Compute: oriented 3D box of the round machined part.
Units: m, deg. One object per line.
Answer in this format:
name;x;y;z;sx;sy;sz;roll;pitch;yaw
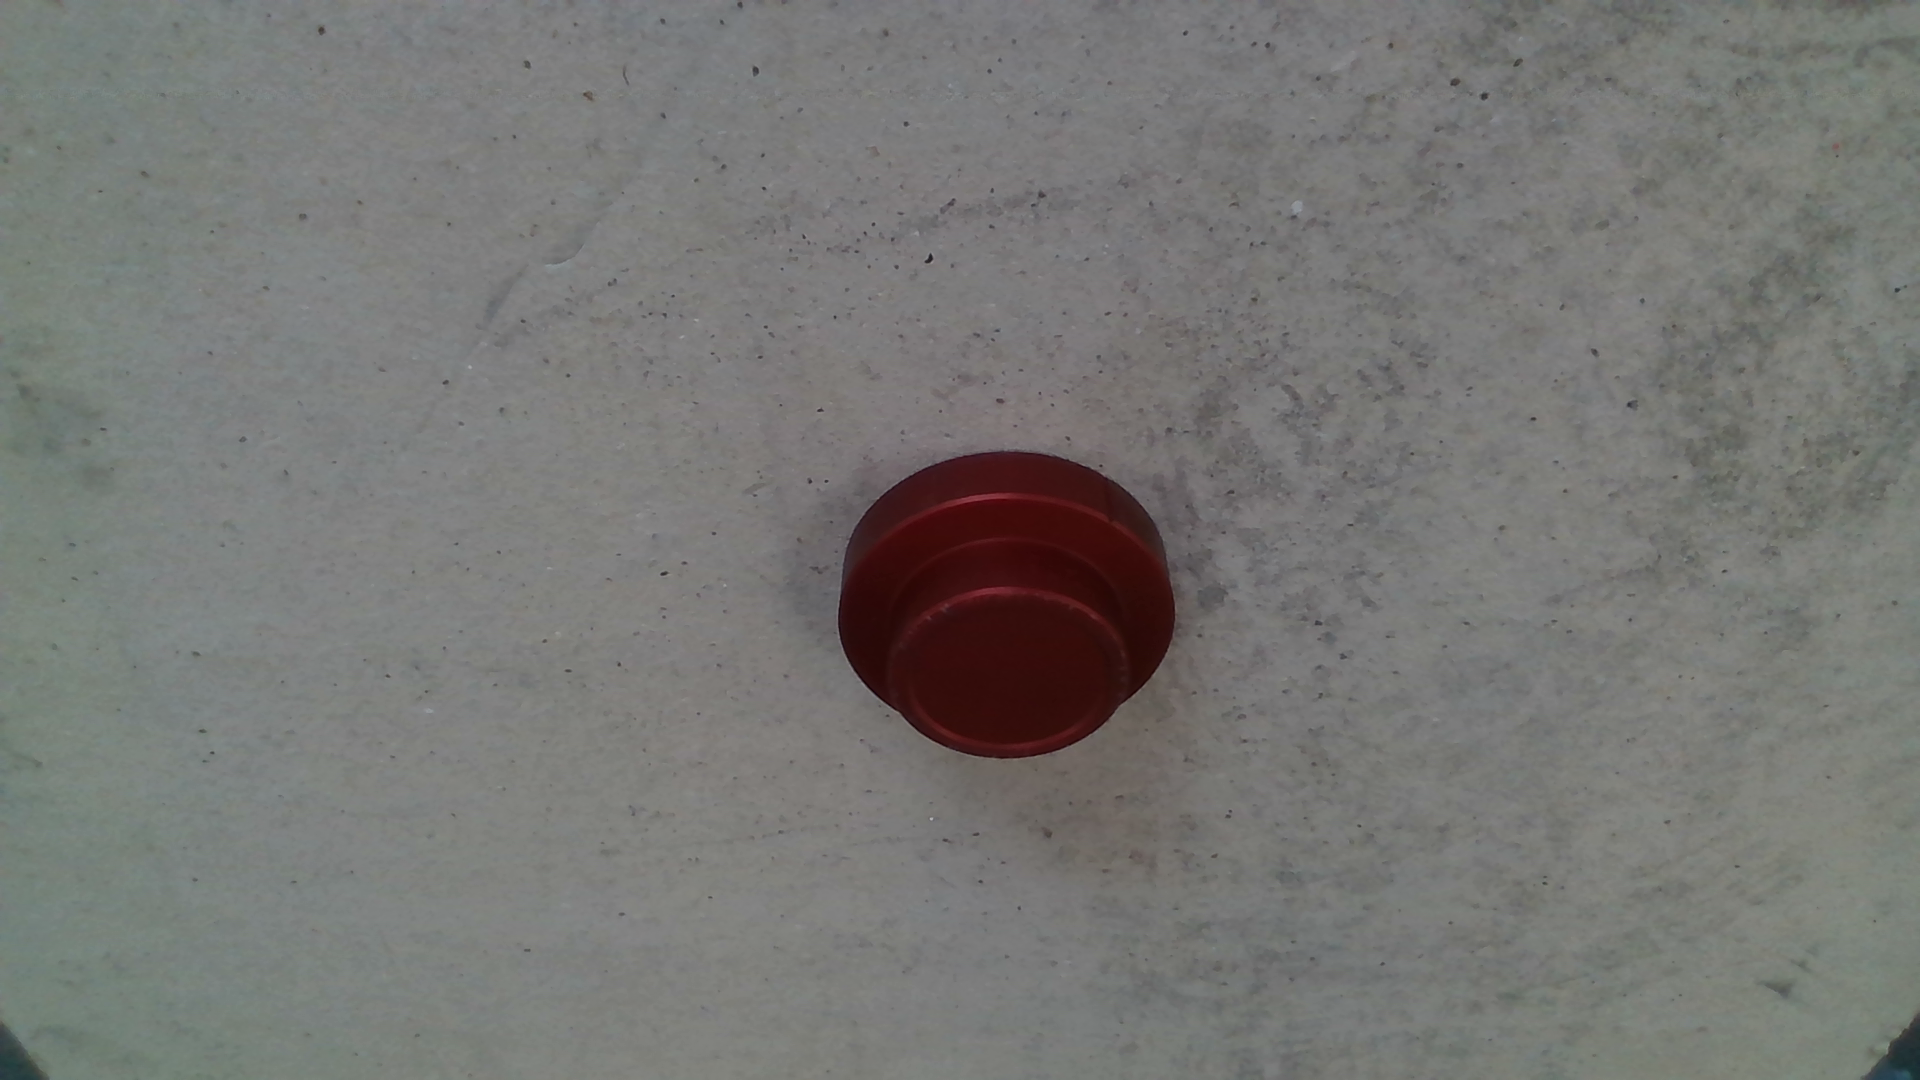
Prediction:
round machined part;0.013;0.025;0.399;0.098;0.042;0.098;0;130;0
